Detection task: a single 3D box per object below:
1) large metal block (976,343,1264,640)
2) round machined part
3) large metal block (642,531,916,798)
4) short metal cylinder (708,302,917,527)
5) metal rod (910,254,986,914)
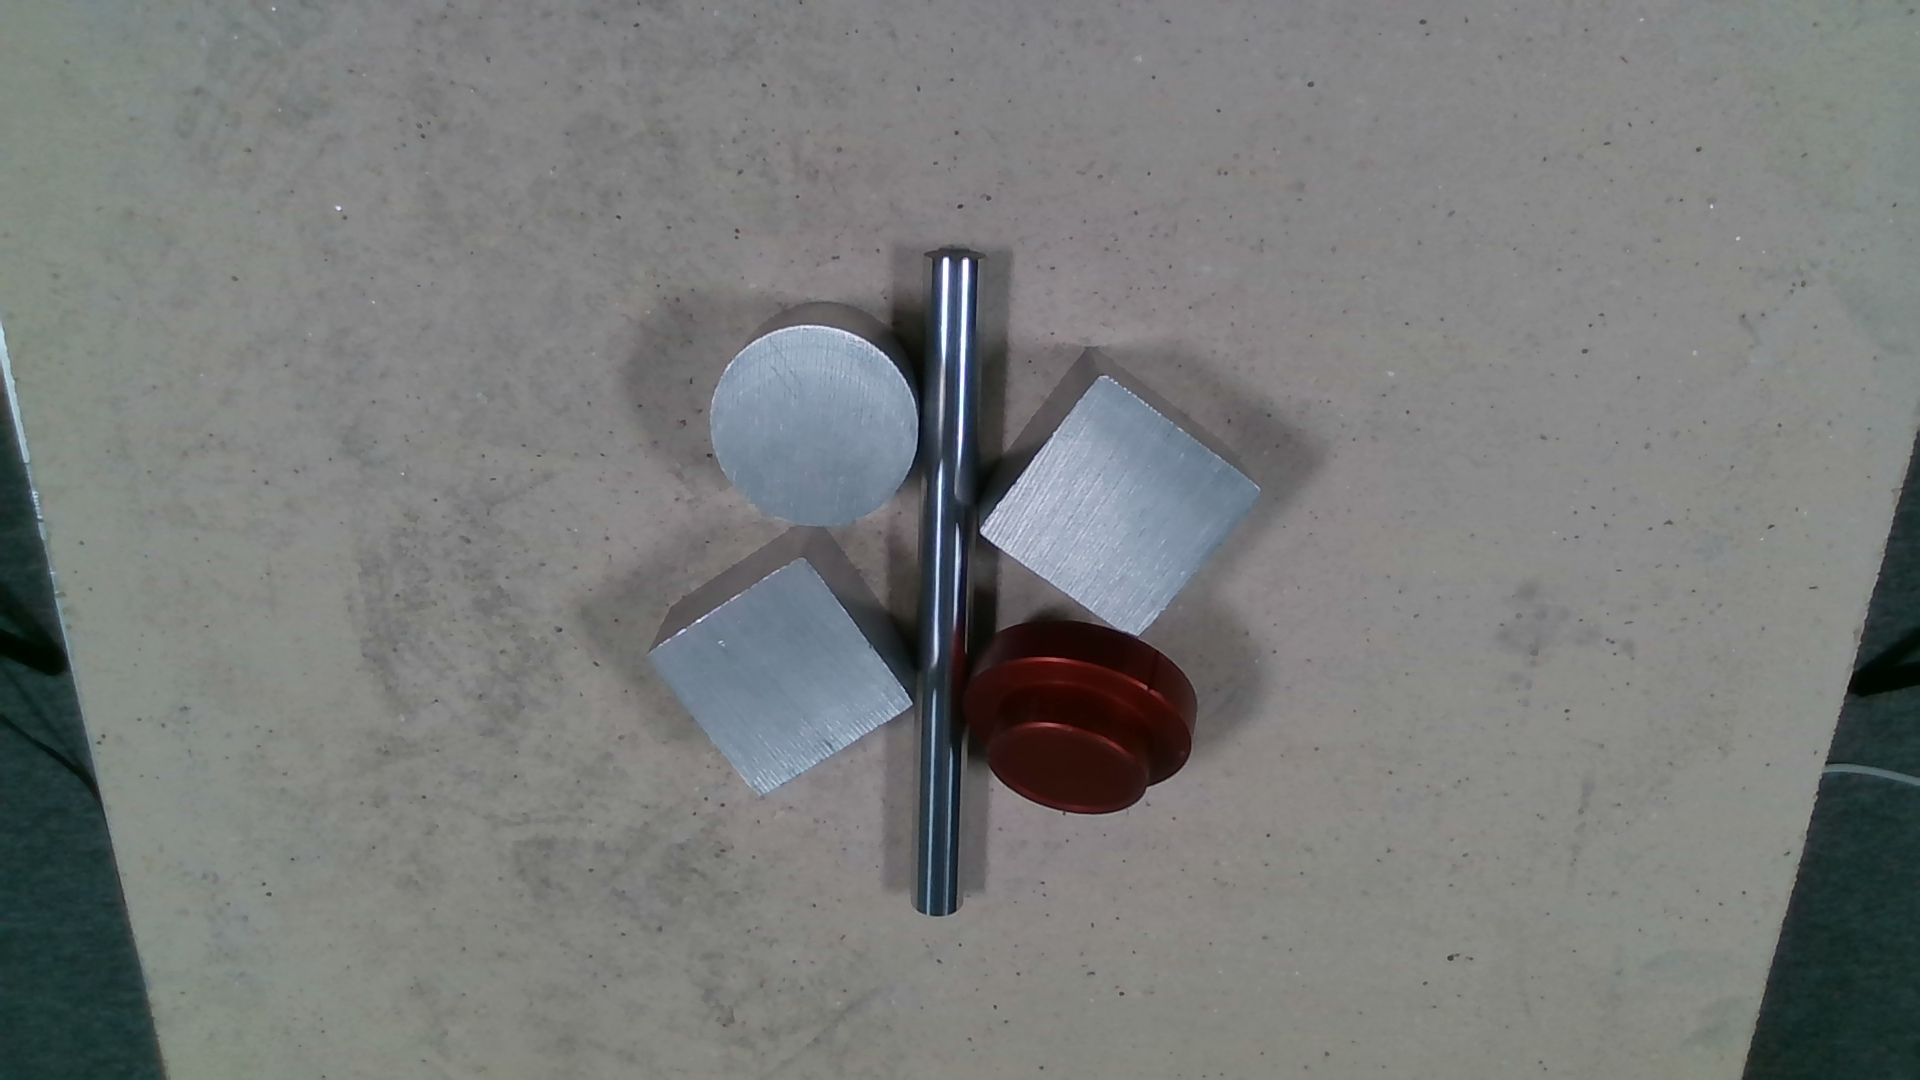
[{"bbox_3d":[0.062,-0.020,0.562,0.080,0.050,0.080,35,107,-12],"label":"large metal block"},{"bbox_3d":[0.048,0.080,0.580,0.098,0.042,0.098,11,139,9],"label":"round machined part"},{"bbox_3d":[-0.074,0.049,0.590,0.080,0.050,0.080,-32,107,11],"label":"large metal block"},{"bbox_3d":[-0.057,-0.051,0.552,0.080,0.050,0.080,0,110,0],"label":"short metal cylinder"},{"bbox_3d":[-0.007,0.028,0.596,0.025,0.025,0.301,2,110,-1],"label":"metal rod"}]
